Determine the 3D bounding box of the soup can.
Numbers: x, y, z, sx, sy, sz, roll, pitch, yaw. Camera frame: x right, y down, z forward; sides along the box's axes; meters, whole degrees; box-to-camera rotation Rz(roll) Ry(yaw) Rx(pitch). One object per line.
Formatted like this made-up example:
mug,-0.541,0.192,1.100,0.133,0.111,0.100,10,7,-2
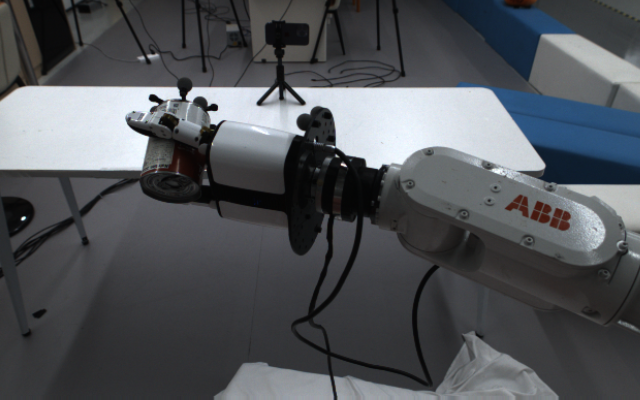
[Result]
soup can,-0.163,-0.056,0.557,0.067,0.067,0.101,0,61,-3
